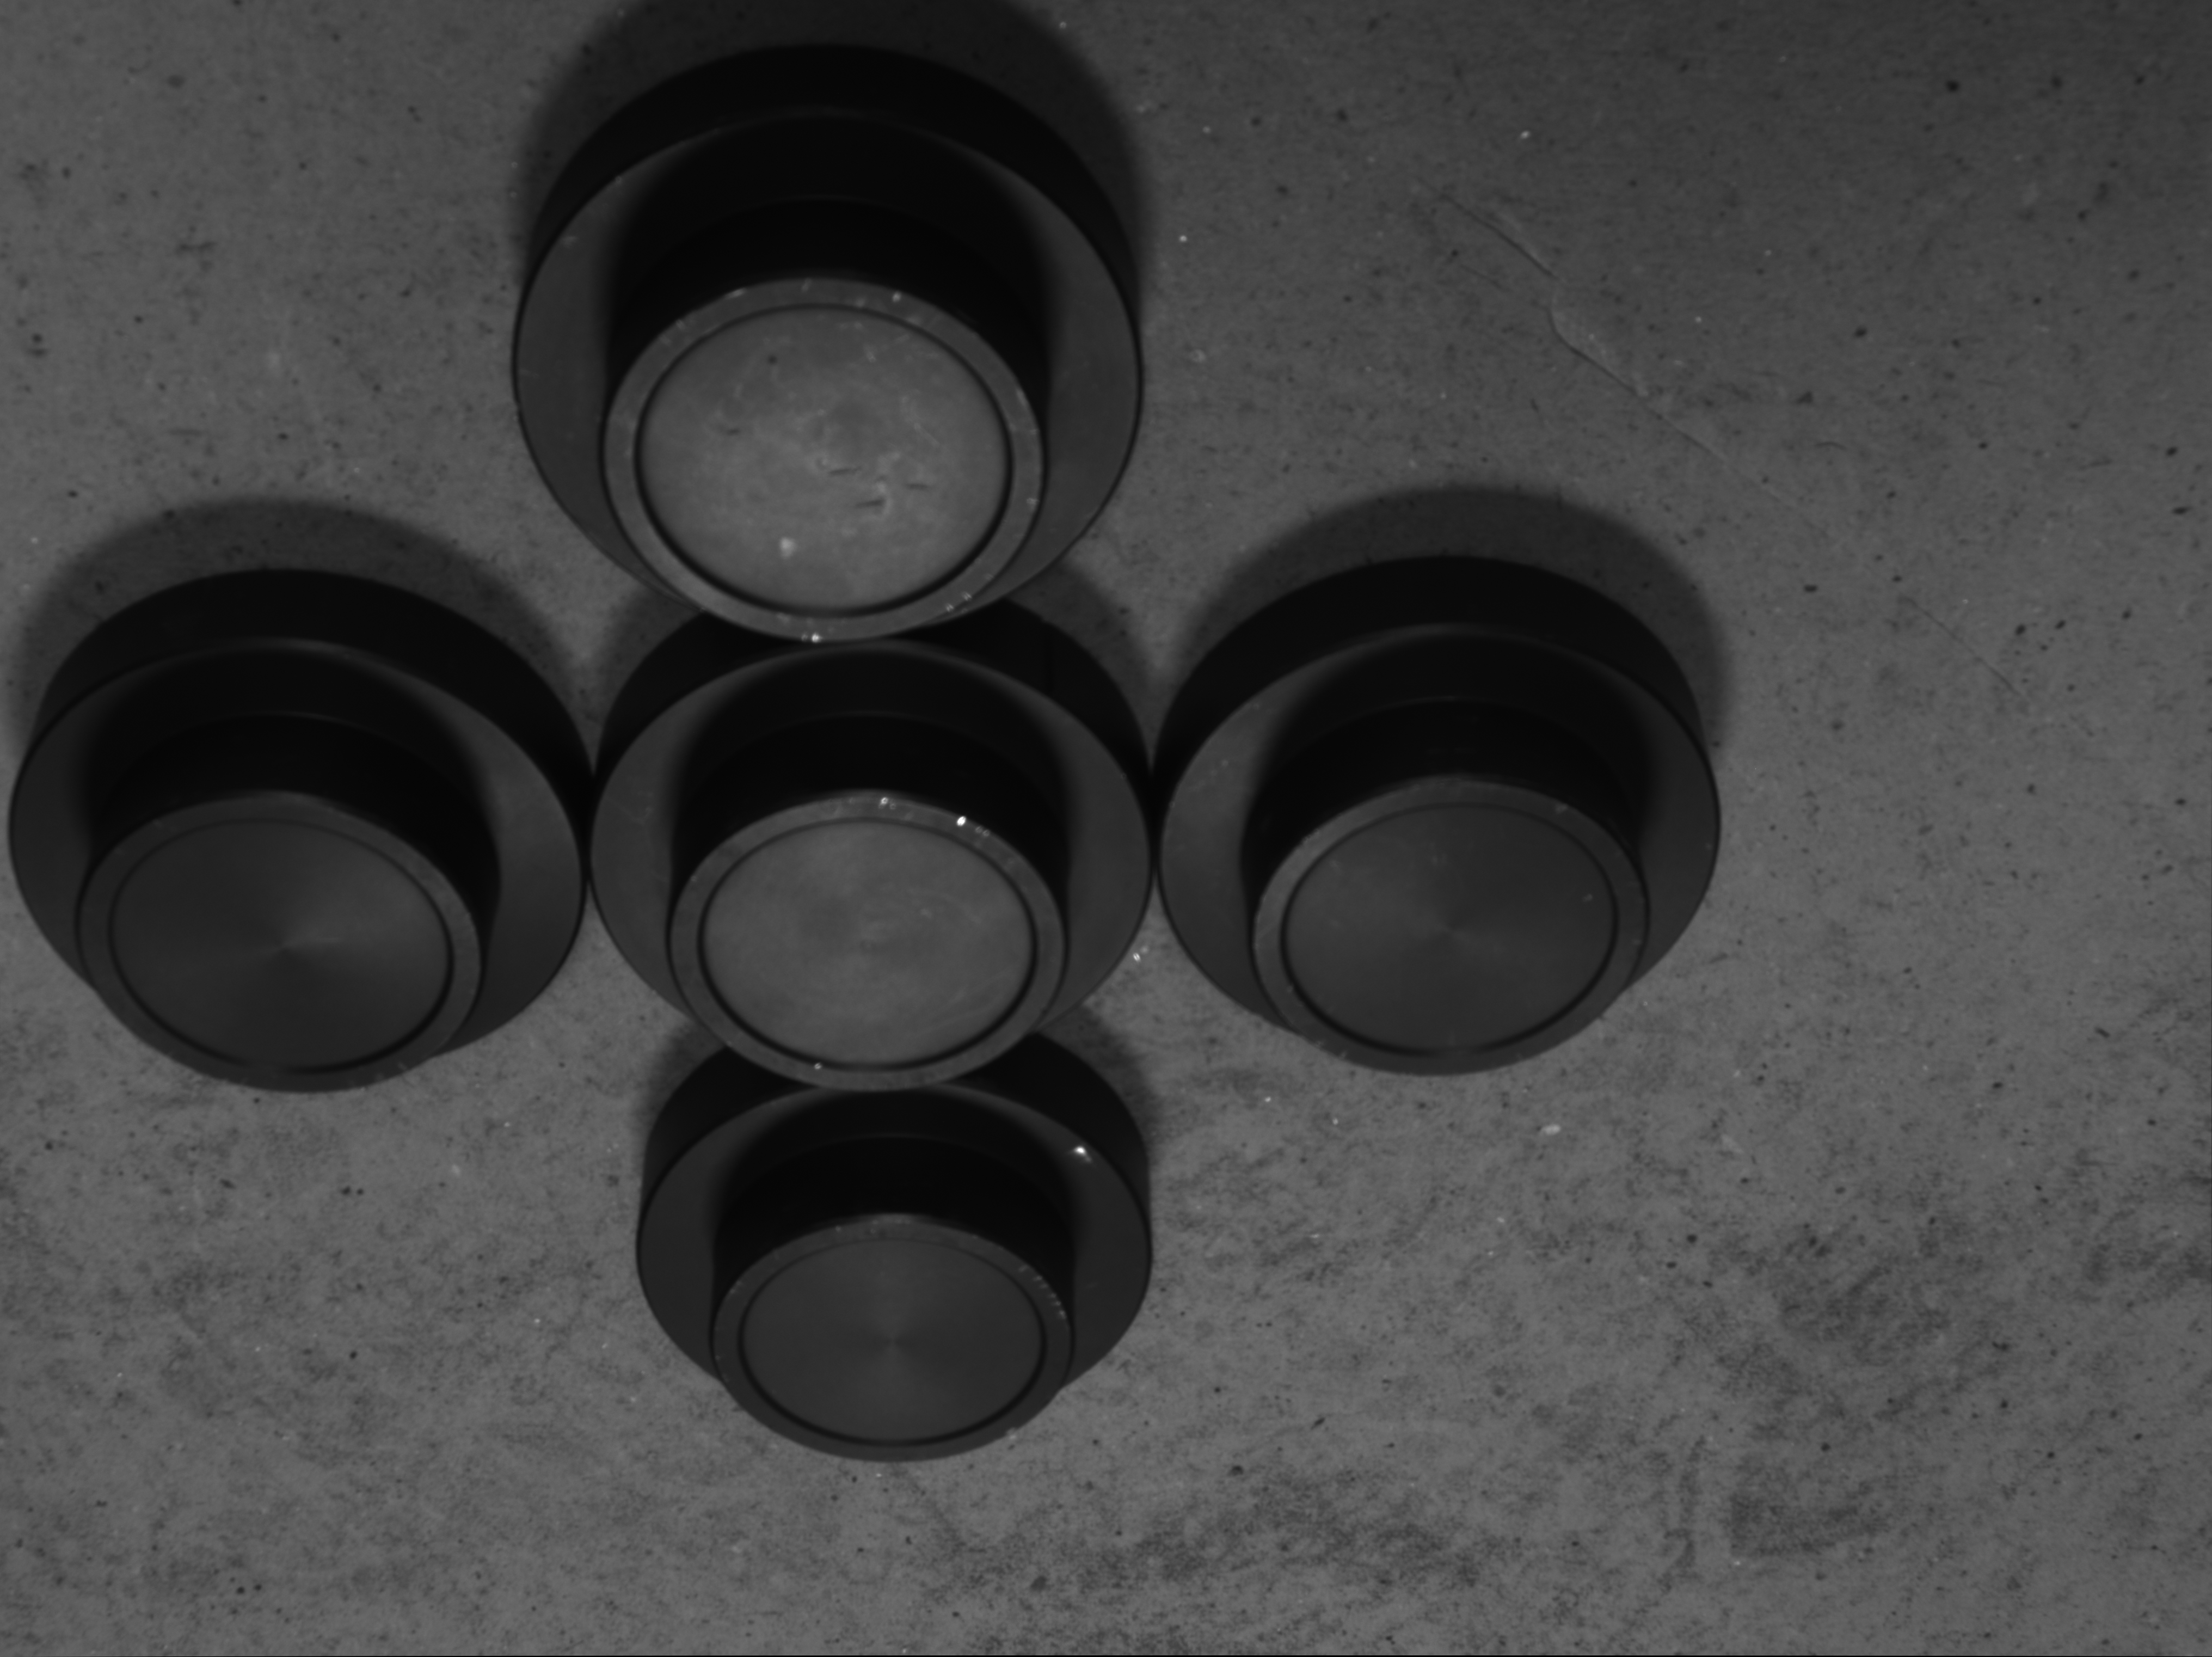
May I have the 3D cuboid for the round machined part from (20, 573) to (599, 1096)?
[{"bbox_3d":[-0.137,0.008,0.629,0.098,0.042,0.098,-1,130,-1],"label":"round machined part"}]

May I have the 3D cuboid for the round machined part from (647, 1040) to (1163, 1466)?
[{"bbox_3d":[-0.038,0.083,0.695,0.098,0.042,0.098,-1,130,-1],"label":"round machined part"}]

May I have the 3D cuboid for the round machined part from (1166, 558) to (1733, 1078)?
[{"bbox_3d":[0.060,0.005,0.634,0.098,0.042,0.098,-1,130,-1],"label":"round machined part"}]

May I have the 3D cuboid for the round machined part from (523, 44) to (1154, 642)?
[{"bbox_3d":[-0.041,-0.068,0.569,0.098,0.042,0.098,-1,130,-1],"label":"round machined part"}]

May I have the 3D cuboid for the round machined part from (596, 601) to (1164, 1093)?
[{"bbox_3d":[-0.039,0.007,0.632,0.098,0.042,0.098,-1,130,-1],"label":"round machined part"}]
